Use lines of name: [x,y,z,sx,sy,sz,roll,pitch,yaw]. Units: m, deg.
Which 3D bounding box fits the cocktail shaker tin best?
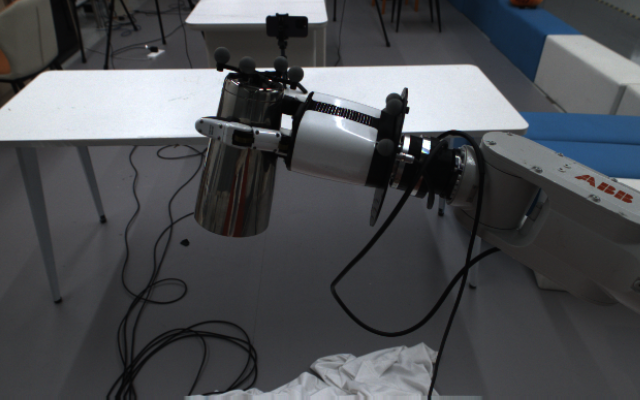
cocktail shaker tin: [-0.086,-0.056,0.561,0.093,0.170,0.093,12,25,-6]
